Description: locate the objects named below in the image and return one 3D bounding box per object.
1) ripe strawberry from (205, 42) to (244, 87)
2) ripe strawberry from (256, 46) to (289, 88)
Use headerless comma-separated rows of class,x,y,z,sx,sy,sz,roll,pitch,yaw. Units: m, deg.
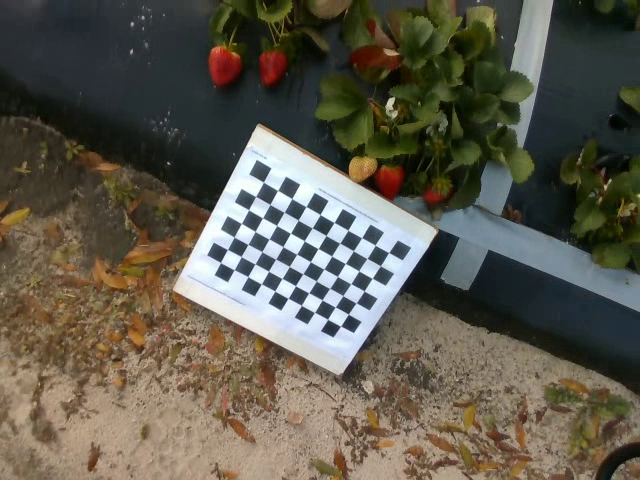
ripe strawberry,-0.134,-0.233,0.780,0.050,0.061,0.045,19,-18,-1
ripe strawberry,-0.068,-0.236,0.784,0.042,0.053,0.034,14,-14,1
